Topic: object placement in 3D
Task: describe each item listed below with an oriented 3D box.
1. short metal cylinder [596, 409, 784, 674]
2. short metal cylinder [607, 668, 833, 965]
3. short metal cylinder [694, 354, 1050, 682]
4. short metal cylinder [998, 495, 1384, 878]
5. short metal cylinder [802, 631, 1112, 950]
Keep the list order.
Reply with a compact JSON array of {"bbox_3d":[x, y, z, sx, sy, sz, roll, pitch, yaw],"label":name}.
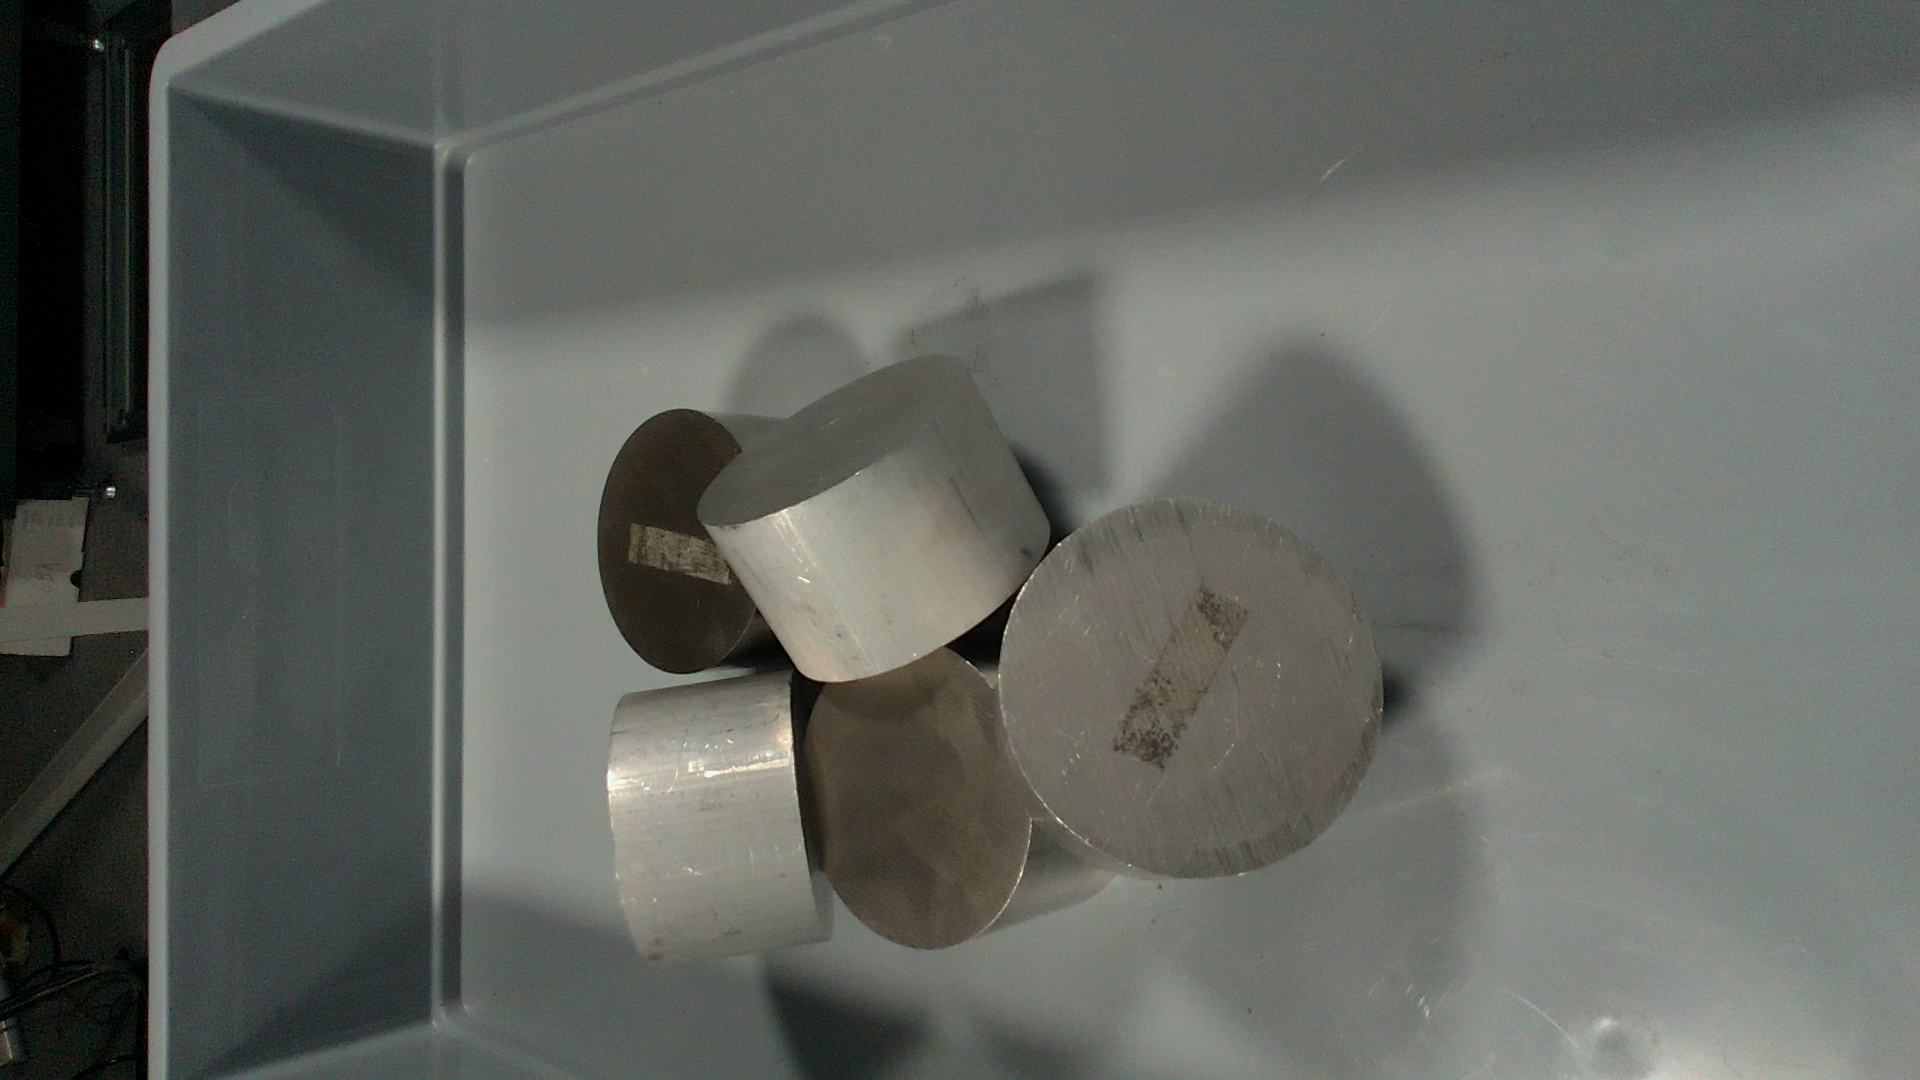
[{"bbox_3d":[-0.070,0.000,0.435,0.080,0.050,0.080,0,90,40],"label":"short metal cylinder"},{"bbox_3d":[-0.069,0.081,0.406,0.050,0.080,0.080,-8,83,-2],"label":"short metal cylinder"},{"bbox_3d":[-0.023,-0.007,0.367,0.080,0.080,0.050,-11,119,40],"label":"short metal cylinder"},{"bbox_3d":[0.048,0.035,0.310,0.080,0.050,0.080,0,76,0],"label":"short metal cylinder"},{"bbox_3d":[0.003,0.065,0.375,0.080,0.050,0.080,0,90,40],"label":"short metal cylinder"}]
